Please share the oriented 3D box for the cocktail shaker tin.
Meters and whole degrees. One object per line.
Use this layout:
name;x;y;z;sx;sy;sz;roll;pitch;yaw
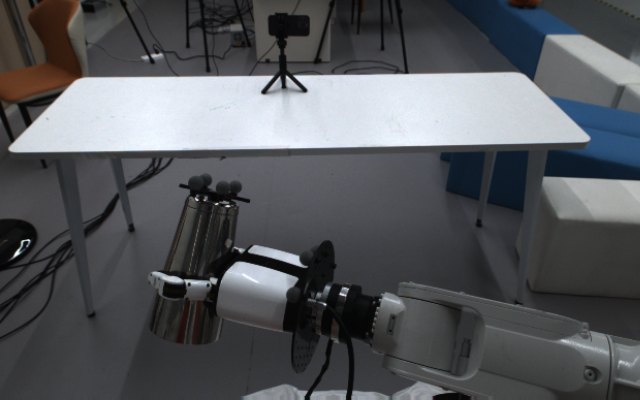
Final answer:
cocktail shaker tin;-0.151;0.083;0.609;0.093;0.170;0.093;13;5;-1
